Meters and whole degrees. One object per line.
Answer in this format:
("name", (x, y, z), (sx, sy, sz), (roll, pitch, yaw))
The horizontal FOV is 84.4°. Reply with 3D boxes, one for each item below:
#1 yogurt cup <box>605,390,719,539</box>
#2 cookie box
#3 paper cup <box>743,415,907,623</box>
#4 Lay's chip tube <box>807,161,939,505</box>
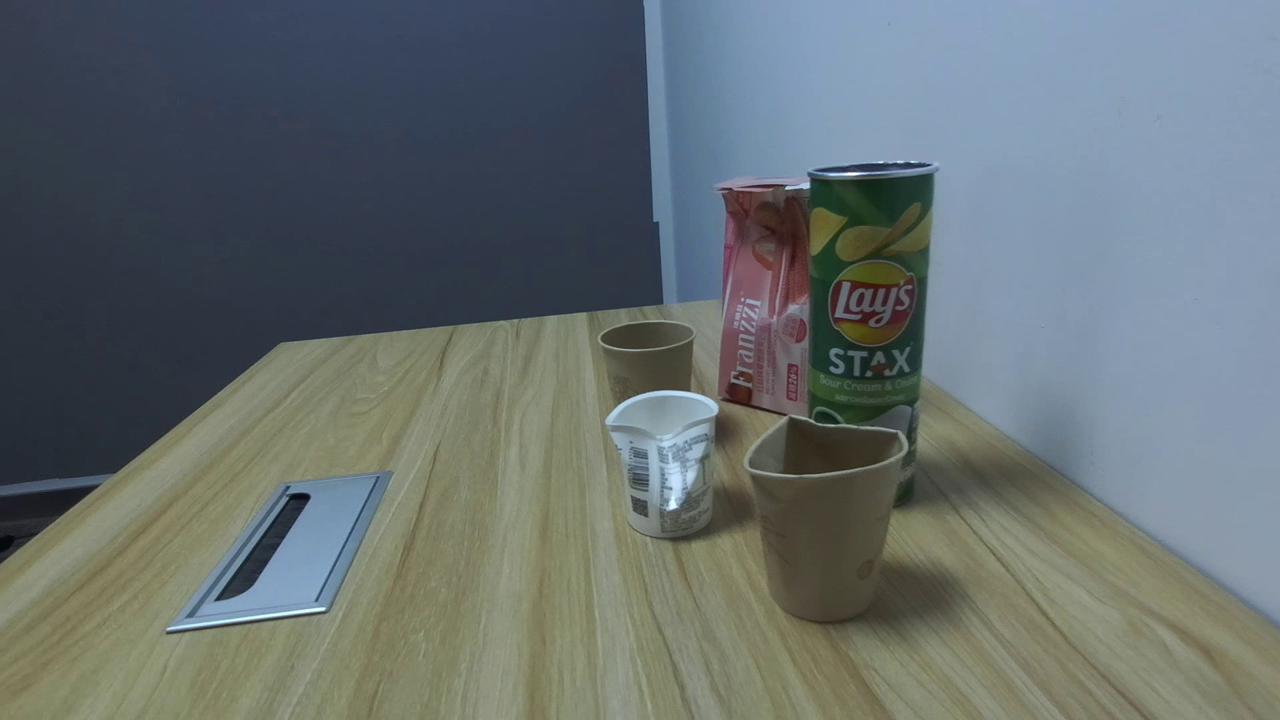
("yogurt cup", (0.017, 0.063, 0.431), (0.067, 0.070, 0.067), (-6, 18, 2))
("cookie box", (0.108, -0.050, 0.567), (0.118, 0.184, 0.056), (11, 23, 44))
("paper cup", (0.089, 0.078, 0.343), (0.071, 0.084, 0.066), (6, 23, 28))
("Lay's chip tube", (0.135, -0.013, 0.425), (0.071, 0.202, 0.071), (-3, 19, 1))
